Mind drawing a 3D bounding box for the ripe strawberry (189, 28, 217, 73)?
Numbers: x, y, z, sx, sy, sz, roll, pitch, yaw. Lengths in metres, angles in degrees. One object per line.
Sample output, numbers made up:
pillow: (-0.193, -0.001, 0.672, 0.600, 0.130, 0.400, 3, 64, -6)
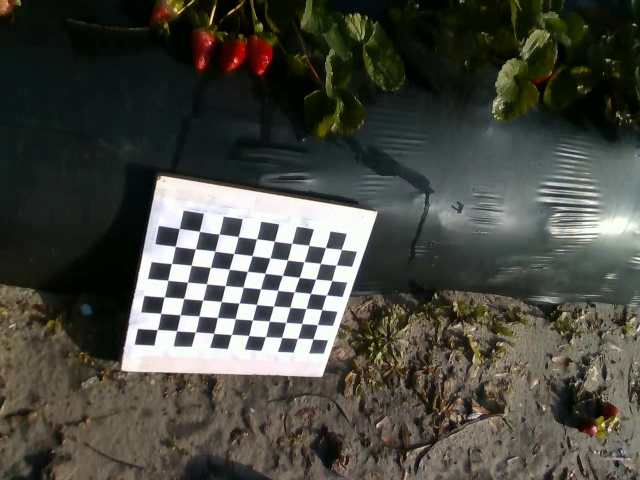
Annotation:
ripe strawberry: (-0.123, -0.197, 0.536, 0.031, 0.045, 0.023, 7, 5, -19)

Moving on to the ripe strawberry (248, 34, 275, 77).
ripe strawberry: (-0.068, -0.190, 0.553, 0.035, 0.041, 0.034, 3, -29, -18)

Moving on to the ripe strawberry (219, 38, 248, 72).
ripe strawberry: (-0.094, -0.192, 0.539, 0.030, 0.039, 0.036, 18, -48, -22)
